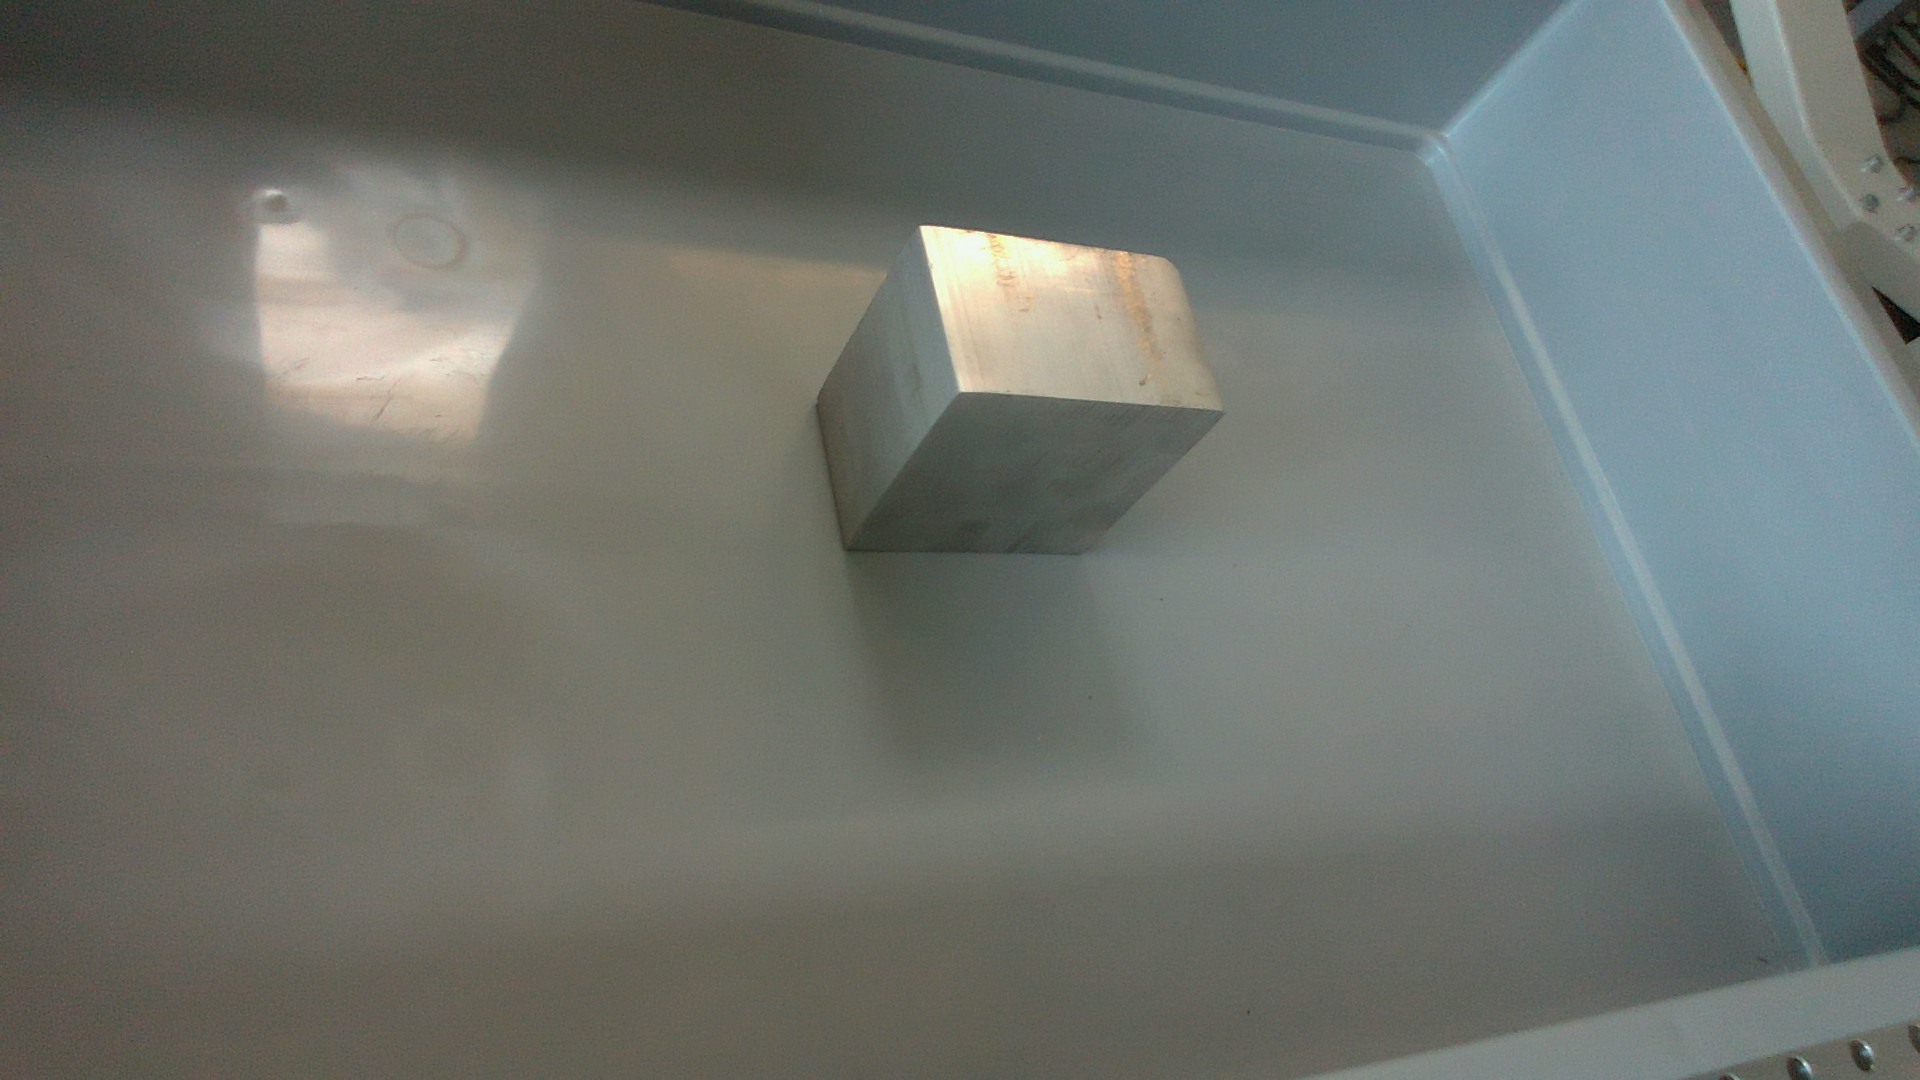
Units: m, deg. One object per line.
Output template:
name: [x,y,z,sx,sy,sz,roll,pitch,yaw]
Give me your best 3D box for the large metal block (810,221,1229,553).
large metal block: [0.013,-0.038,0.382,0.080,0.080,0.050,1,61,-28]
